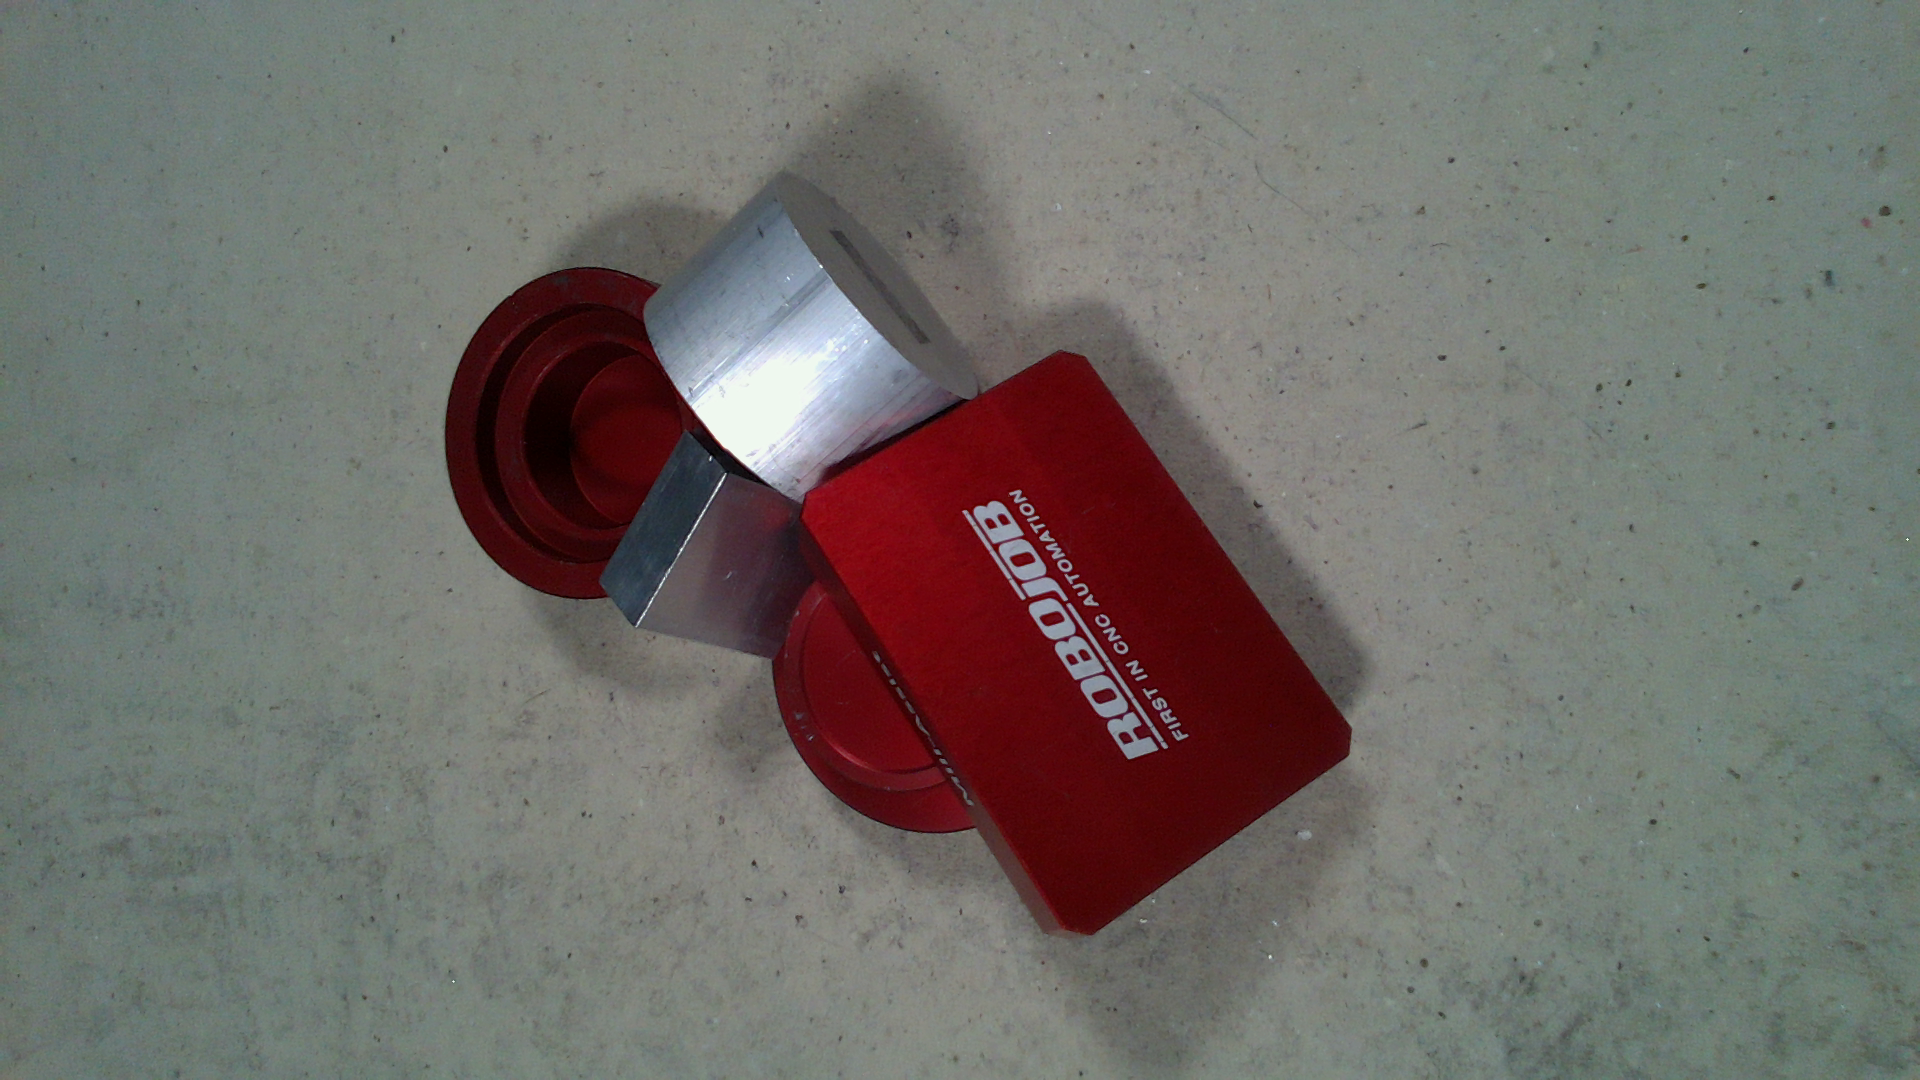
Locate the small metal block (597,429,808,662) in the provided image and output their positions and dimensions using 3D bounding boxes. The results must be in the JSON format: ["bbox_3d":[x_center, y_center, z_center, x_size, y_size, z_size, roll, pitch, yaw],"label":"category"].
[{"bbox_3d":[-0.065,0.003,0.387,0.025,0.050,0.050,41,104,41],"label":"small metal block"}]

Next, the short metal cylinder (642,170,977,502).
[{"bbox_3d":[-0.040,-0.055,0.382,0.050,0.080,0.080,-39,78,16],"label":"short metal cylinder"}]

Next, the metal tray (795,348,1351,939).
[{"bbox_3d":[0.027,0.025,0.360,0.090,0.030,0.130,-31,78,-15],"label":"metal tray"}]

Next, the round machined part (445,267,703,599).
[{"bbox_3d":[-0.106,-0.032,0.425,0.098,0.042,0.098,0,90,20],"label":"round machined part"}]

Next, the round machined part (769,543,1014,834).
[{"bbox_3d":[-0.011,0.035,0.391,0.098,0.042,0.098,0,90,20],"label":"round machined part"}]
